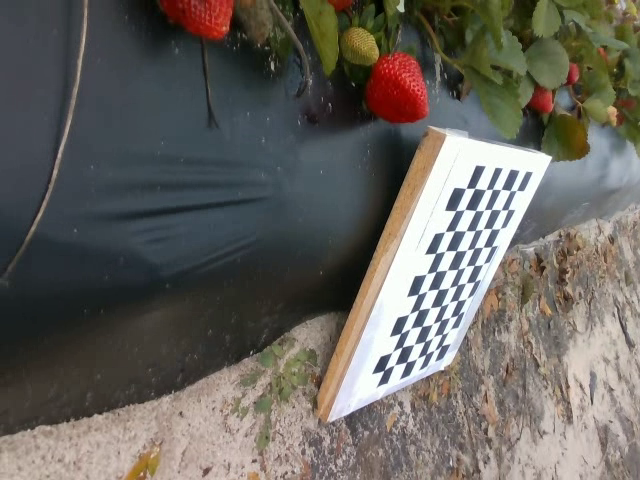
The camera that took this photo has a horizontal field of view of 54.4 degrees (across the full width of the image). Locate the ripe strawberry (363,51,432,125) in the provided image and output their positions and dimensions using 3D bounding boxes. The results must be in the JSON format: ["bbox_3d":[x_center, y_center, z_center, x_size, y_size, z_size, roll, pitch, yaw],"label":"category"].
[{"bbox_3d":[0.064,-0.109,0.464,0.057,0.056,0.064,-27,51,-14],"label":"ripe strawberry"}]
